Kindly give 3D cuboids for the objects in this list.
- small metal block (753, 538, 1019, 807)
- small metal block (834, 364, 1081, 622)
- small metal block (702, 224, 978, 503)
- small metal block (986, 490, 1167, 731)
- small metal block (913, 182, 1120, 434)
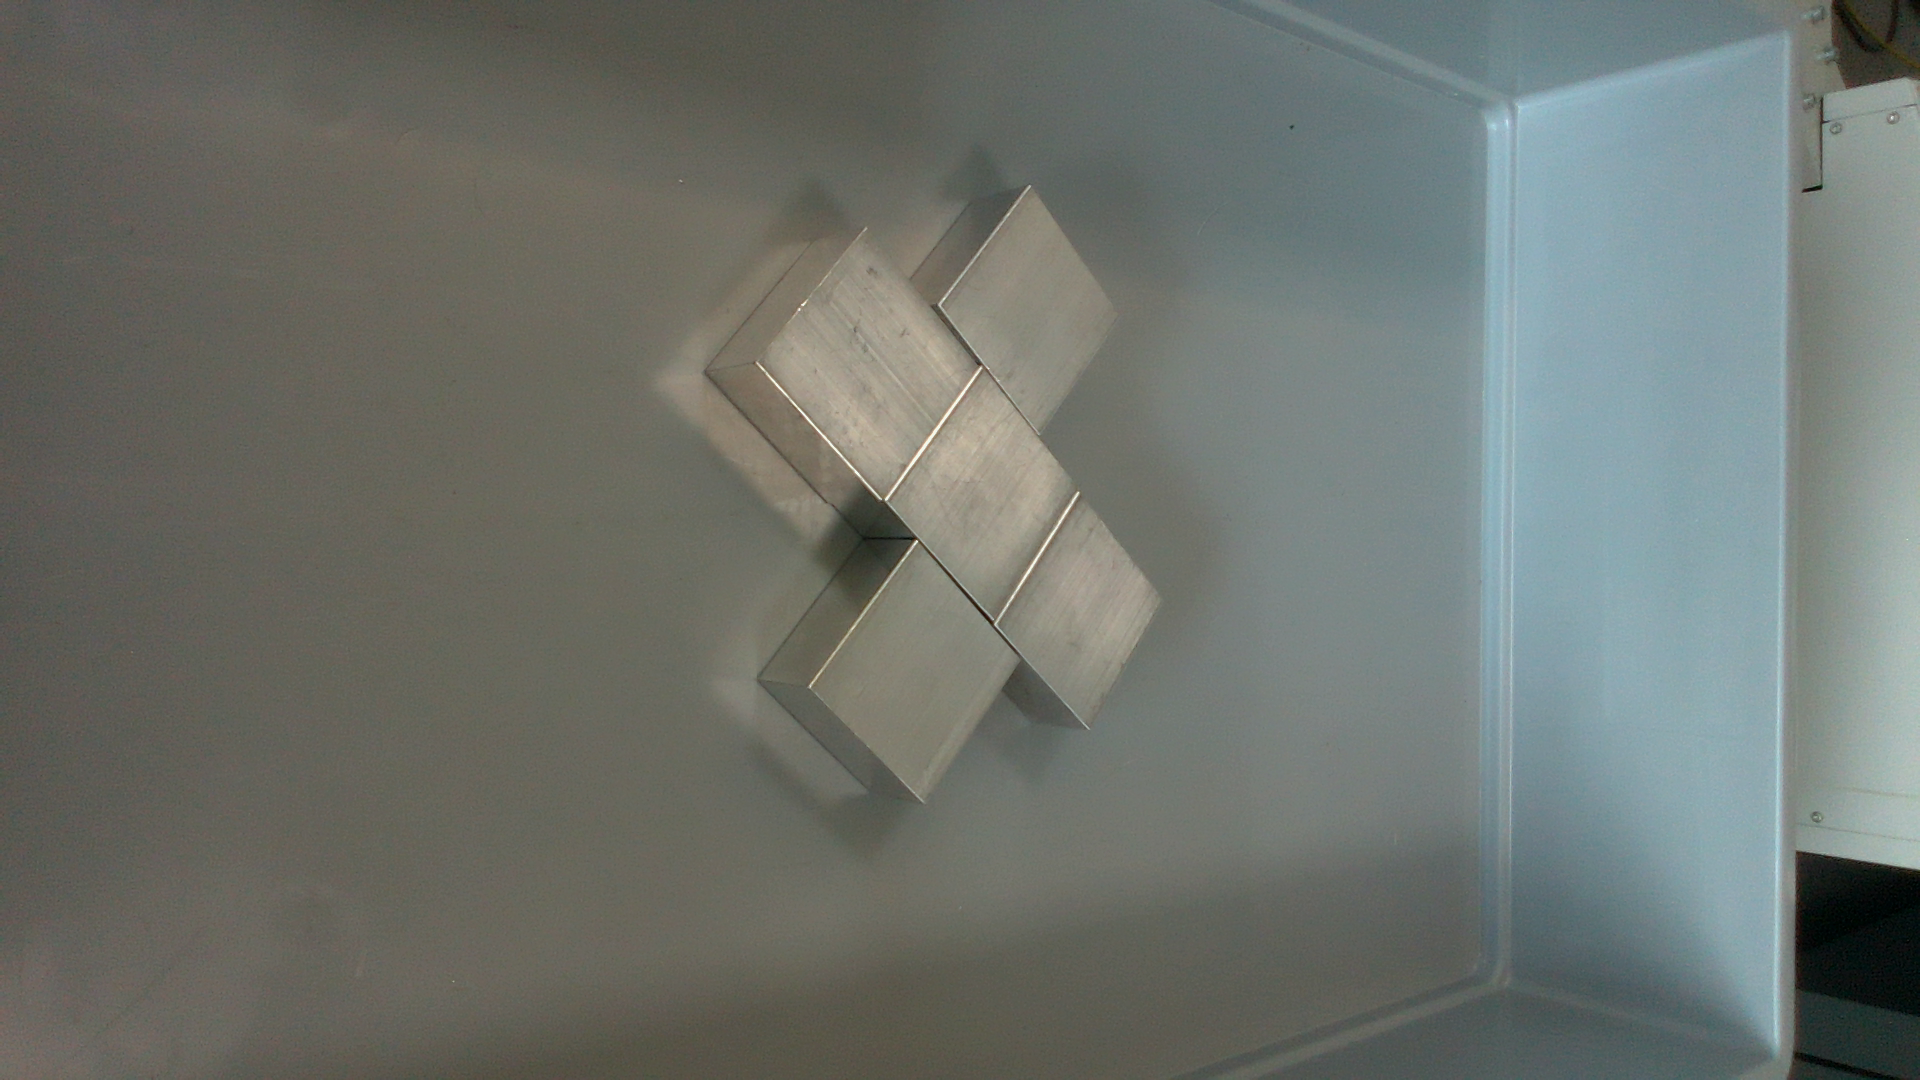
[{"bbox_3d":[-0.019,0.035,0.372,0.050,0.025,0.050,50,61,-28],"label":"small metal block"},{"bbox_3d":[0.000,-0.013,0.386,0.050,0.025,0.050,49,61,-29],"label":"small metal block"},{"bbox_3d":[-0.030,-0.045,0.361,0.050,0.025,0.050,49,61,-29],"label":"small metal block"},{"bbox_3d":[0.029,0.021,0.410,0.050,0.025,0.050,49,61,-29],"label":"small metal block"},{"bbox_3d":[0.013,-0.065,0.397,0.050,0.025,0.050,49,60,-29],"label":"small metal block"}]
